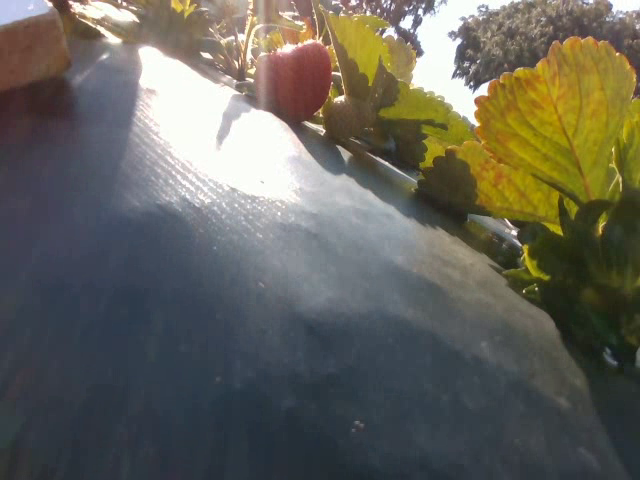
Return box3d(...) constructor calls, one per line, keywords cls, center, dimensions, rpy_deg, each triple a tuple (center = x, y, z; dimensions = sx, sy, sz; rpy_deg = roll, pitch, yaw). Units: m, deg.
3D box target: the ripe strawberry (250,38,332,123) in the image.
box3d(cls="ripe strawberry", center=(-0.007, -0.063, 0.227), dimensions=(0.037, 0.042, 0.045), rpy_deg=(-46, 0, -38))
